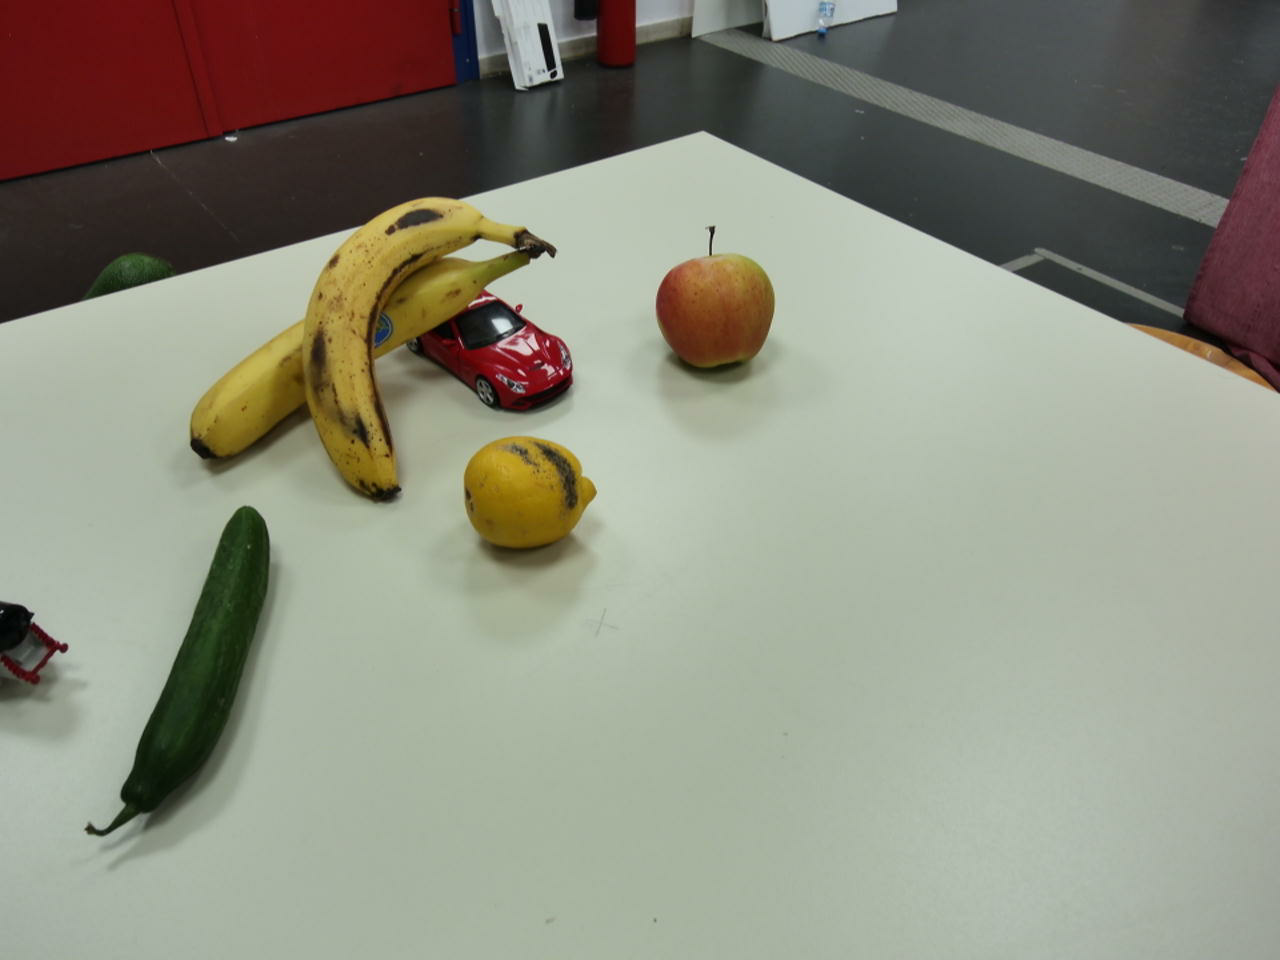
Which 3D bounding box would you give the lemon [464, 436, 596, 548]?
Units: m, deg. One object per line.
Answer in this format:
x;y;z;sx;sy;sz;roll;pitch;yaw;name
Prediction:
-0.058;0.006;0.501;0.058;0.056;0.061;31;47;33;lemon
